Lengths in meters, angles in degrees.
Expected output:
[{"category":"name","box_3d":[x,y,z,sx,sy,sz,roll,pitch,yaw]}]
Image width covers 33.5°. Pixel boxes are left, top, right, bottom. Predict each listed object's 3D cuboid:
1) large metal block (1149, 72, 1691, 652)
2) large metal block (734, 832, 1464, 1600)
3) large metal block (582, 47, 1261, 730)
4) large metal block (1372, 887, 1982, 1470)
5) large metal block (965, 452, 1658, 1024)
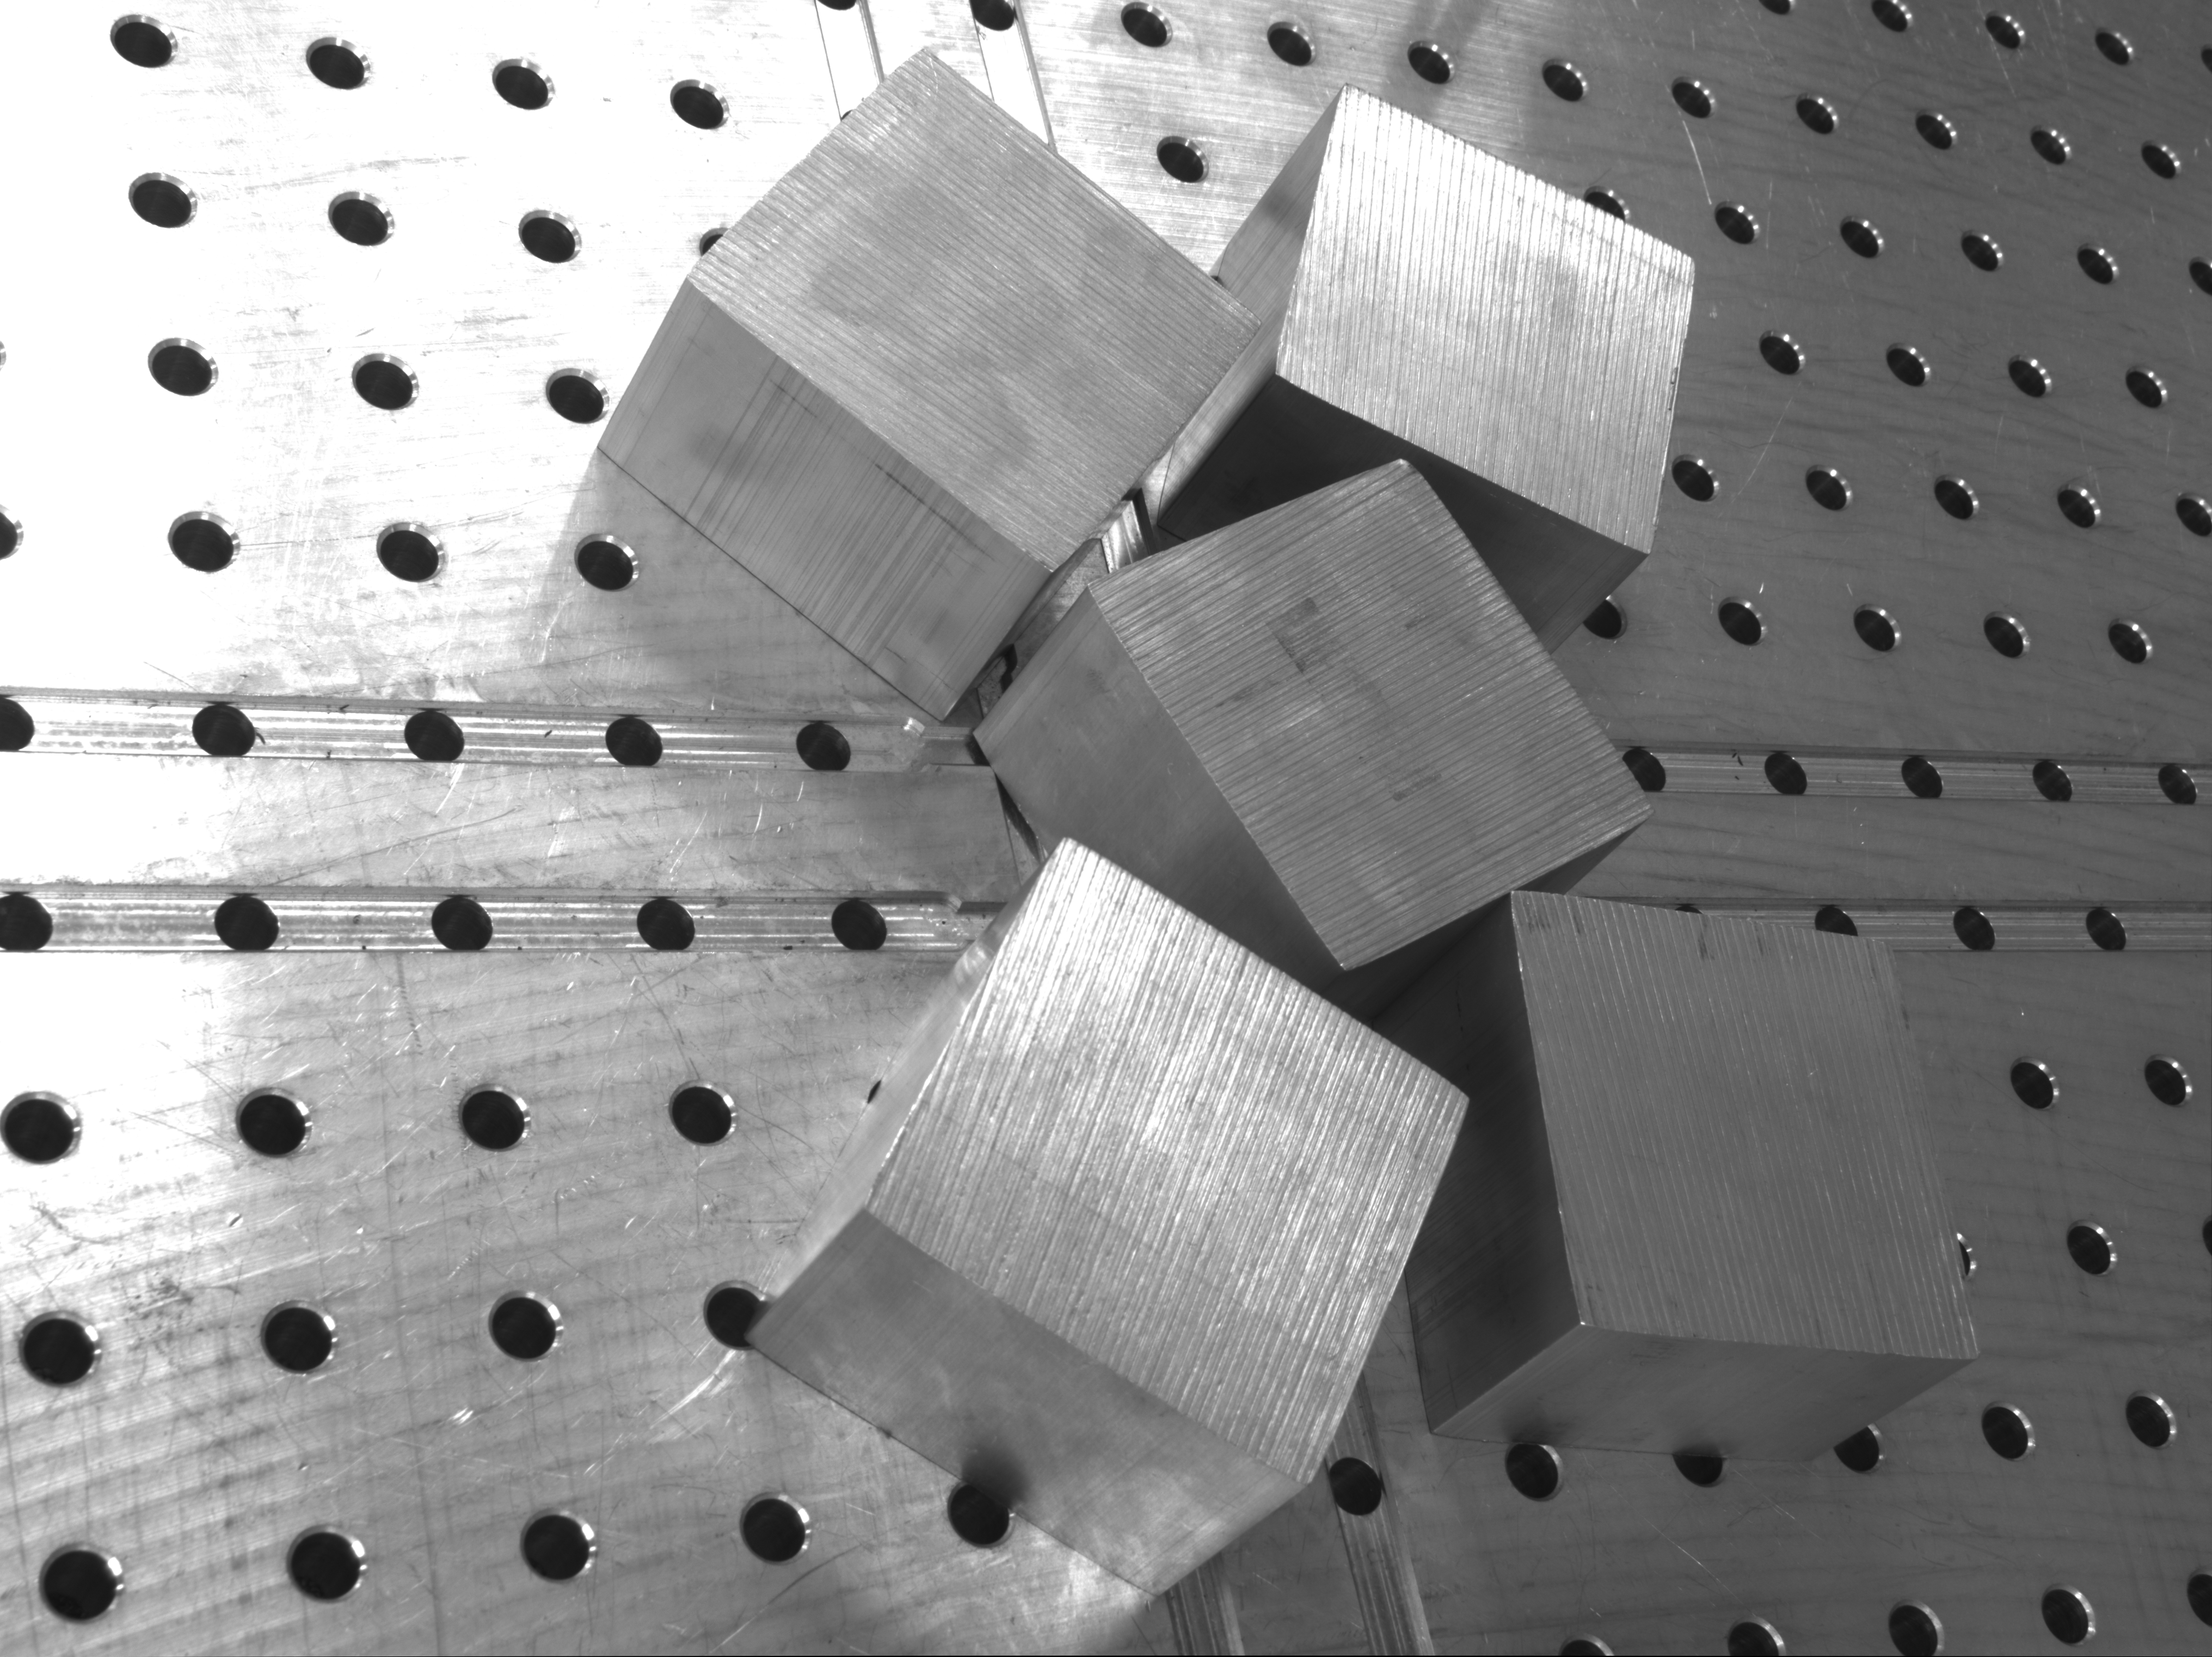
[{"category":"large metal block","box_3d":[0.062,-0.086,0.710,0.080,0.050,0.080,25,53,-16]},{"category":"large metal block","box_3d":[0.000,0.062,0.587,0.080,0.050,0.080,33,51,-6]},{"category":"large metal block","box_3d":[-0.032,-0.079,0.657,0.080,0.050,0.080,39,51,-1]},{"category":"large metal block","box_3d":[0.097,0.062,0.640,0.080,0.050,0.080,9,58,-24]},{"category":"large metal block","box_3d":[0.036,-0.010,0.651,0.080,0.050,0.080,-25,75,-36]}]
